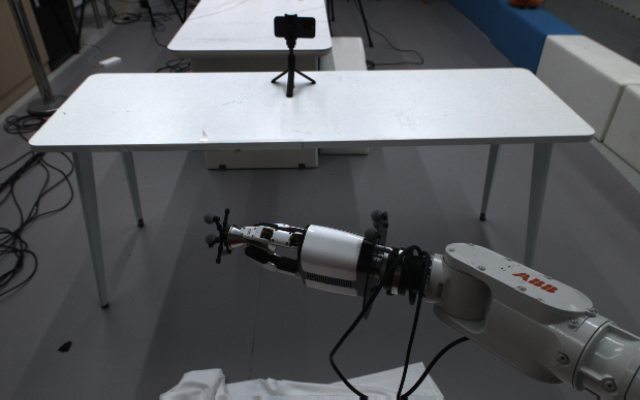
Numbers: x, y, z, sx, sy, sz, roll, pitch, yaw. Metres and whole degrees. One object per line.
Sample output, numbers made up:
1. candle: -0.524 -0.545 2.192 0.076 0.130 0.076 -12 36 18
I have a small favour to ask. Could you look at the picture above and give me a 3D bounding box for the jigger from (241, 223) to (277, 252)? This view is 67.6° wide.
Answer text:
1. jigger: -0.099 0.057 0.762 0.071 0.043 0.043 4 34 14
